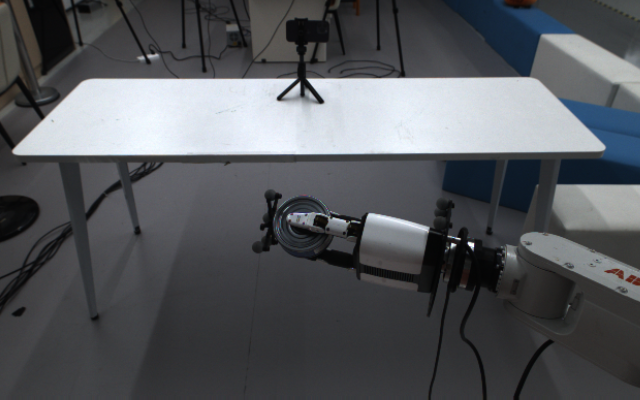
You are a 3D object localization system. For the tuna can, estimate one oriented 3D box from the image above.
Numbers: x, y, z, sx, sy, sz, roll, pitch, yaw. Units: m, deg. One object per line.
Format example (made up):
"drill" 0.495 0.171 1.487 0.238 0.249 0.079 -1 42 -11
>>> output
"tuna can" -0.021 0.036 0.686 0.085 0.034 0.085 -2 69 6
